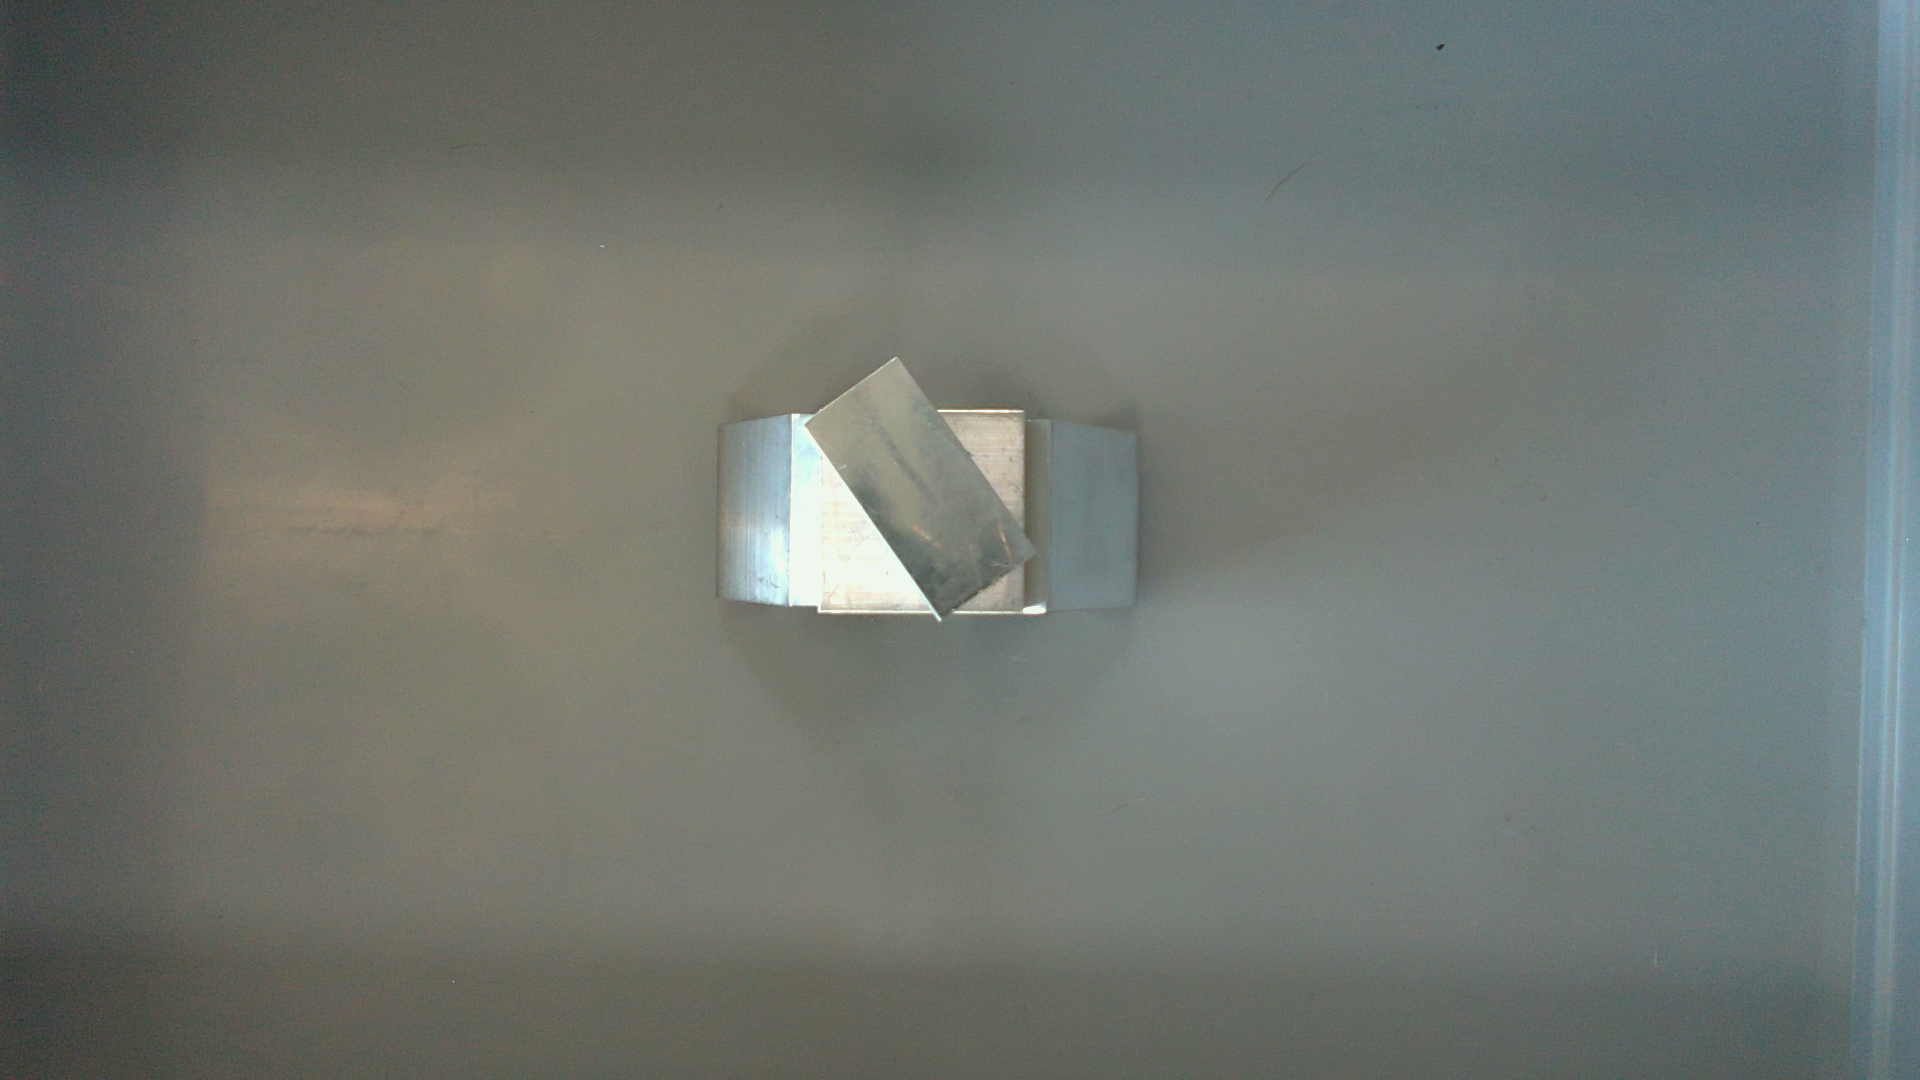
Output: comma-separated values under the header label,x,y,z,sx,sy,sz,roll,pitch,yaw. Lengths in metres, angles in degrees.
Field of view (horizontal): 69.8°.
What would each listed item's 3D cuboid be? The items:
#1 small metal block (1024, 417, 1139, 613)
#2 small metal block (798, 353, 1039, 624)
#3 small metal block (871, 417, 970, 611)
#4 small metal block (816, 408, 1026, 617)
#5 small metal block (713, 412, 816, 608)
label,x,y,z,sx,sy,sz,roll,pitch,yaw
small metal block,0.027,-0.006,0.379,0.025,0.050,0.050,1,90,34
small metal block,-0.008,-0.011,0.306,0.025,0.050,0.050,-35,90,1
small metal block,-0.010,-0.007,0.381,0.025,0.050,0.050,1,90,0
small metal block,-0.009,-0.007,0.343,0.050,0.025,0.050,1,90,0
small metal block,-0.046,-0.008,0.378,0.025,0.050,0.050,0,90,-33
